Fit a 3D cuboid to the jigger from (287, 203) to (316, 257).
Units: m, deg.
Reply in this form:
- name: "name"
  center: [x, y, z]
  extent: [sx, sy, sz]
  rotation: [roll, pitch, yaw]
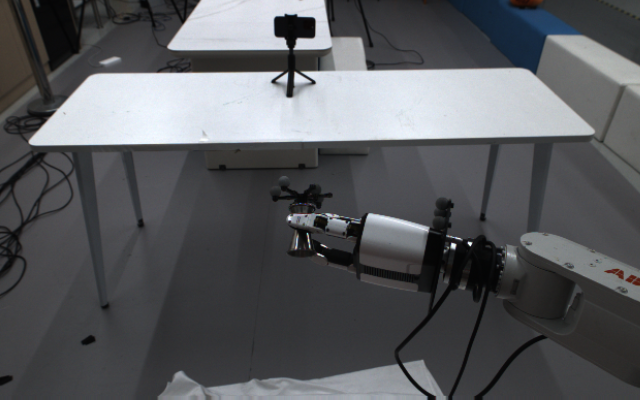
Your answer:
- name: "jigger"
  center: [-0.026, 0.041, 0.684]
  extent: [0.043, 0.043, 0.071]
  rotation: [1, 70, -2]
